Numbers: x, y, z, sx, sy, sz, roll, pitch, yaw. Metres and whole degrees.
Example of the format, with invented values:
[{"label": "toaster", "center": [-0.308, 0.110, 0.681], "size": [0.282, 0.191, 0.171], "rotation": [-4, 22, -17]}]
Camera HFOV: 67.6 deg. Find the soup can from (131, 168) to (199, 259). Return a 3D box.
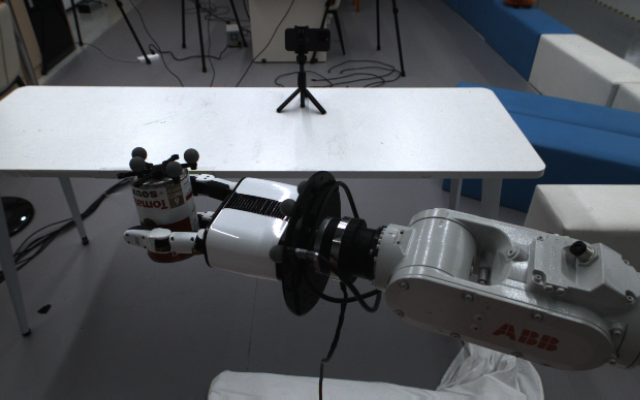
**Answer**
[{"label": "soup can", "center": [-0.181, 0.016, 0.582], "size": [0.067, 0.101, 0.067], "rotation": [-4, 26, 2]}]
